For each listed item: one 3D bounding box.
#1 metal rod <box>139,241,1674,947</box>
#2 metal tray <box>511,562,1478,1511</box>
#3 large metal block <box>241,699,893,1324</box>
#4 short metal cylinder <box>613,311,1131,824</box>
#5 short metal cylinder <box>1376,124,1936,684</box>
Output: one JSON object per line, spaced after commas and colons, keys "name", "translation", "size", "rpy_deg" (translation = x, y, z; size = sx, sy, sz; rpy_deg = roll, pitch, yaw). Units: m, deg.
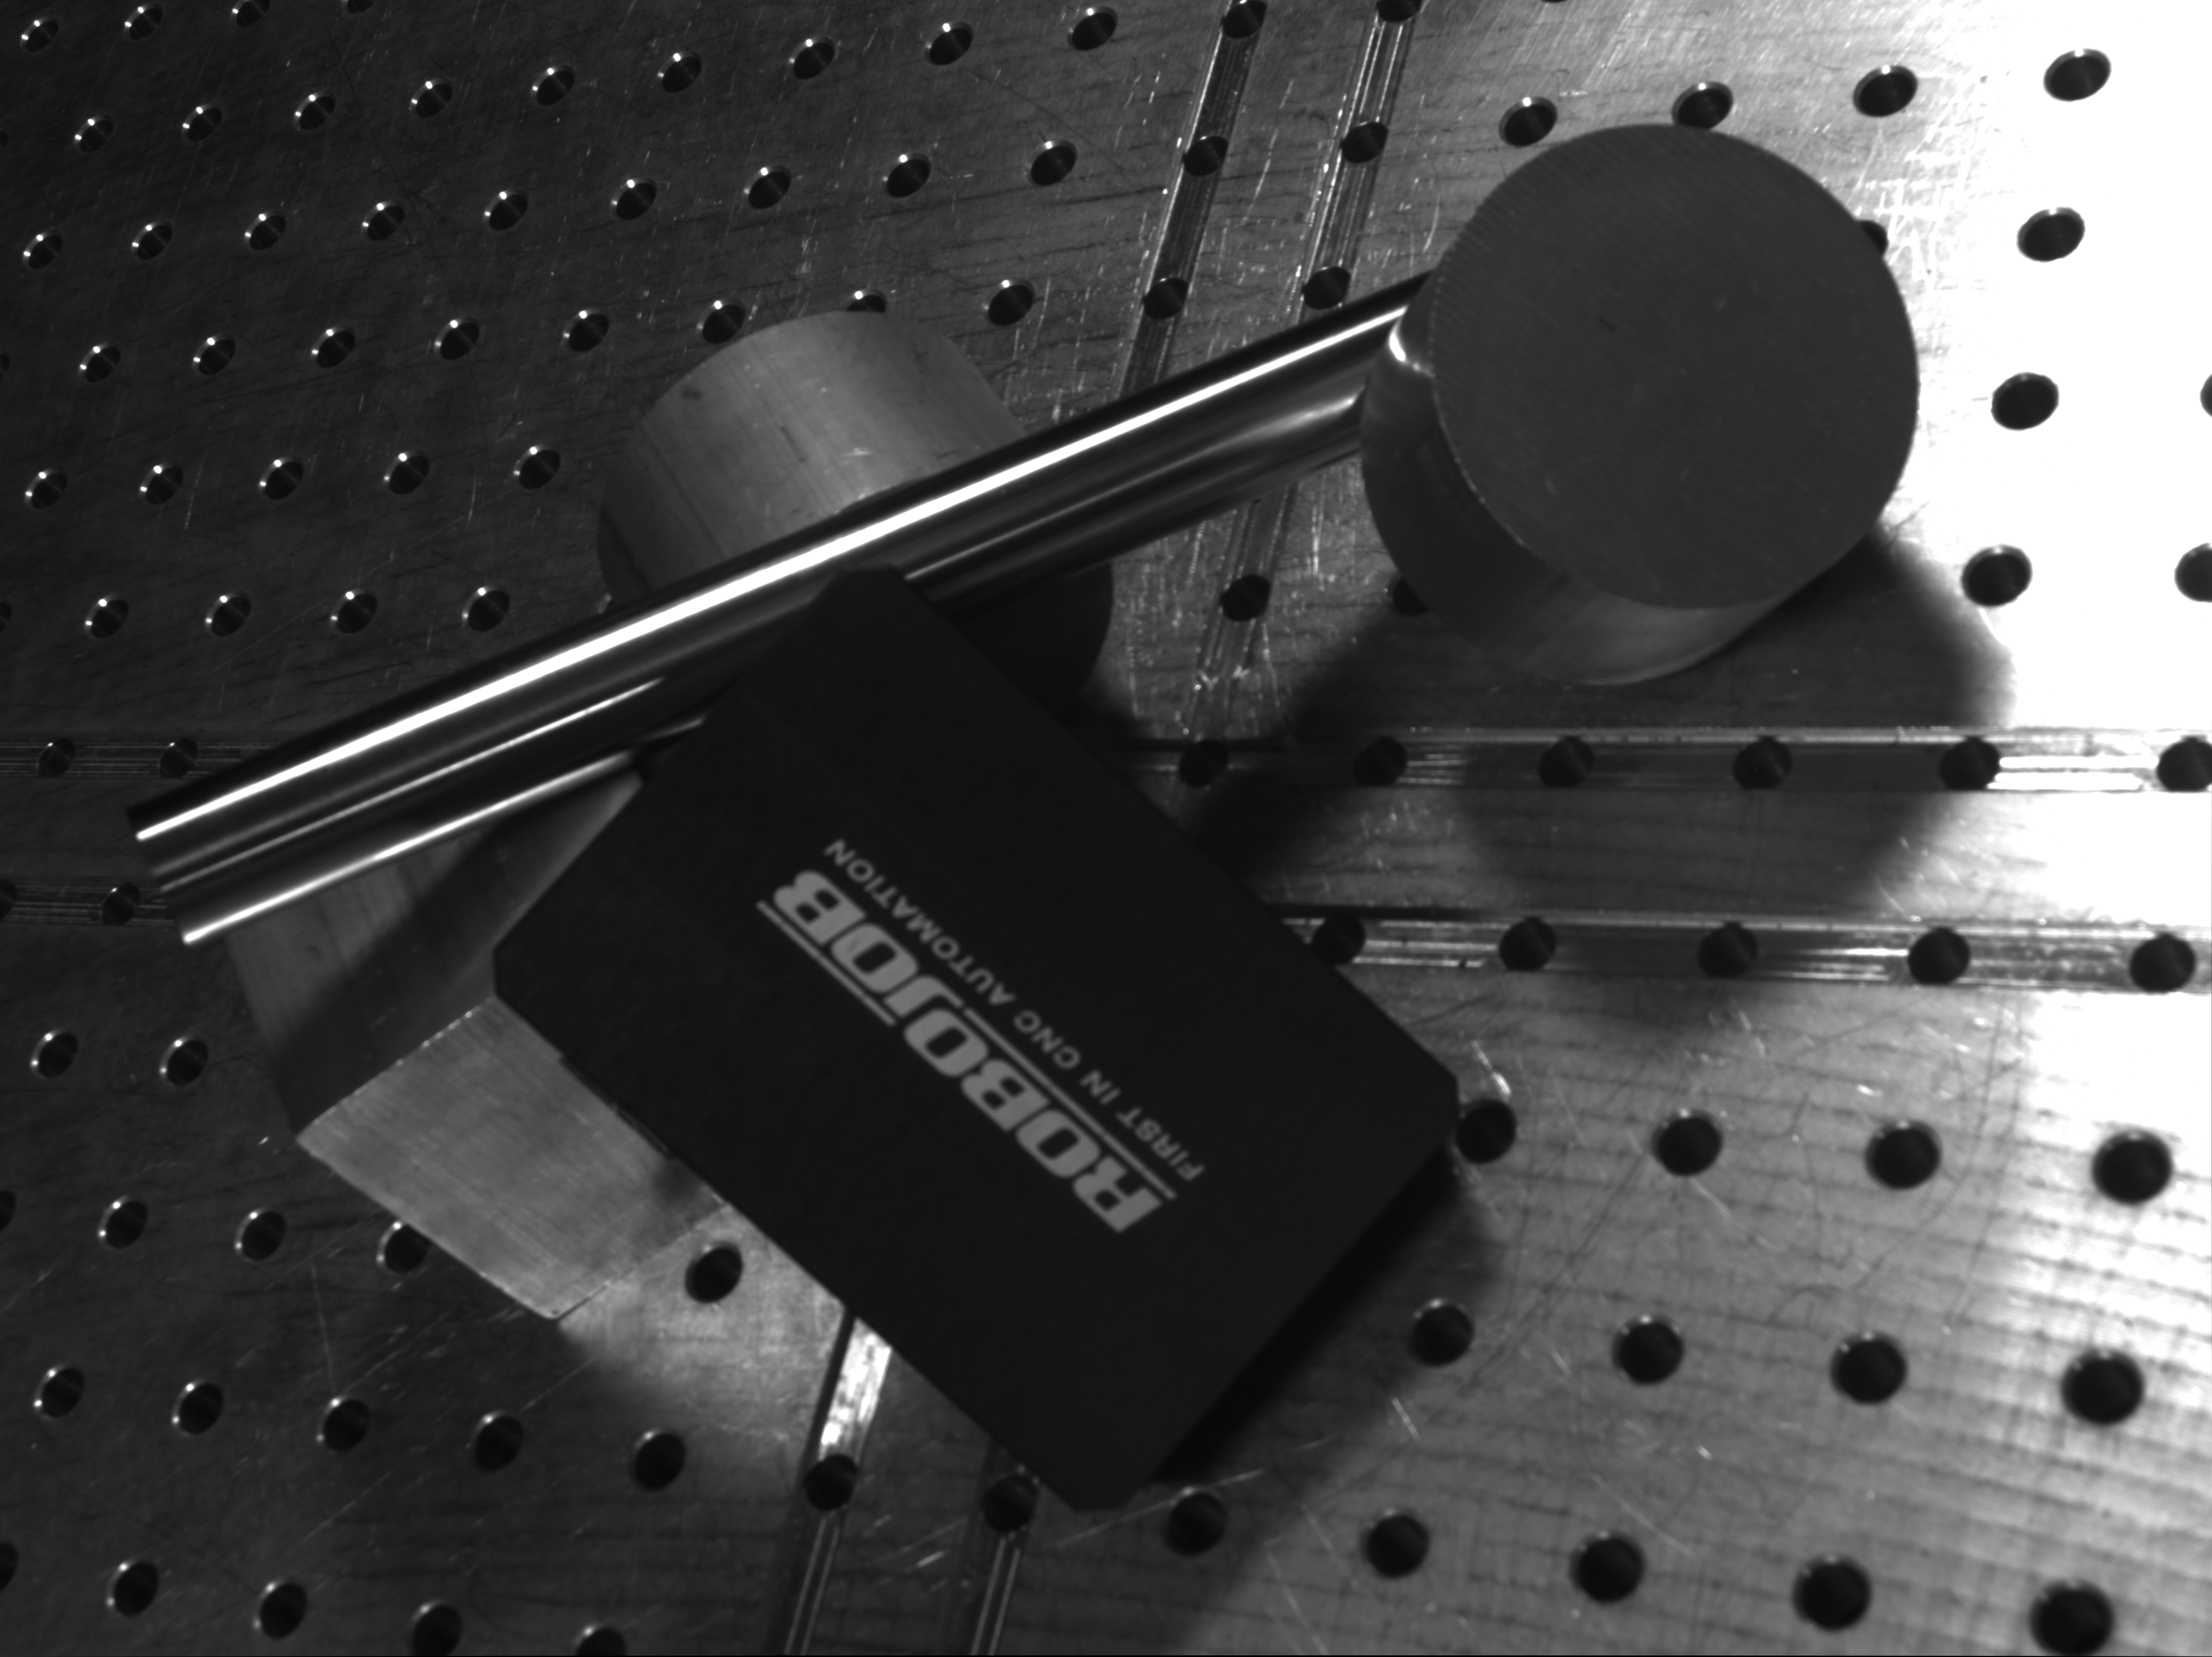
{"name": "metal rod", "translation": [-0.015, -0.052, 0.618], "size": [0.300, 0.025, 0.025], "rpy_deg": [-24, 50, -13]}
{"name": "metal tray", "translation": [-0.018, 0.033, 0.582], "size": [0.130, 0.030, 0.090], "rpy_deg": [42, 84, -3]}
{"name": "large metal block", "translation": [-0.090, 0.031, 0.641], "size": [0.080, 0.080, 0.050], "rpy_deg": [-34, 51, 6]}
{"name": "short metal cylinder", "translation": [-0.043, -0.046, 0.663], "size": [0.080, 0.080, 0.050], "rpy_deg": [-37, 51, 3]}
{"name": "short metal cylinder", "translation": [0.089, -0.068, 0.600], "size": [0.080, 0.050, 0.080], "rpy_deg": [2, 79, -8]}
